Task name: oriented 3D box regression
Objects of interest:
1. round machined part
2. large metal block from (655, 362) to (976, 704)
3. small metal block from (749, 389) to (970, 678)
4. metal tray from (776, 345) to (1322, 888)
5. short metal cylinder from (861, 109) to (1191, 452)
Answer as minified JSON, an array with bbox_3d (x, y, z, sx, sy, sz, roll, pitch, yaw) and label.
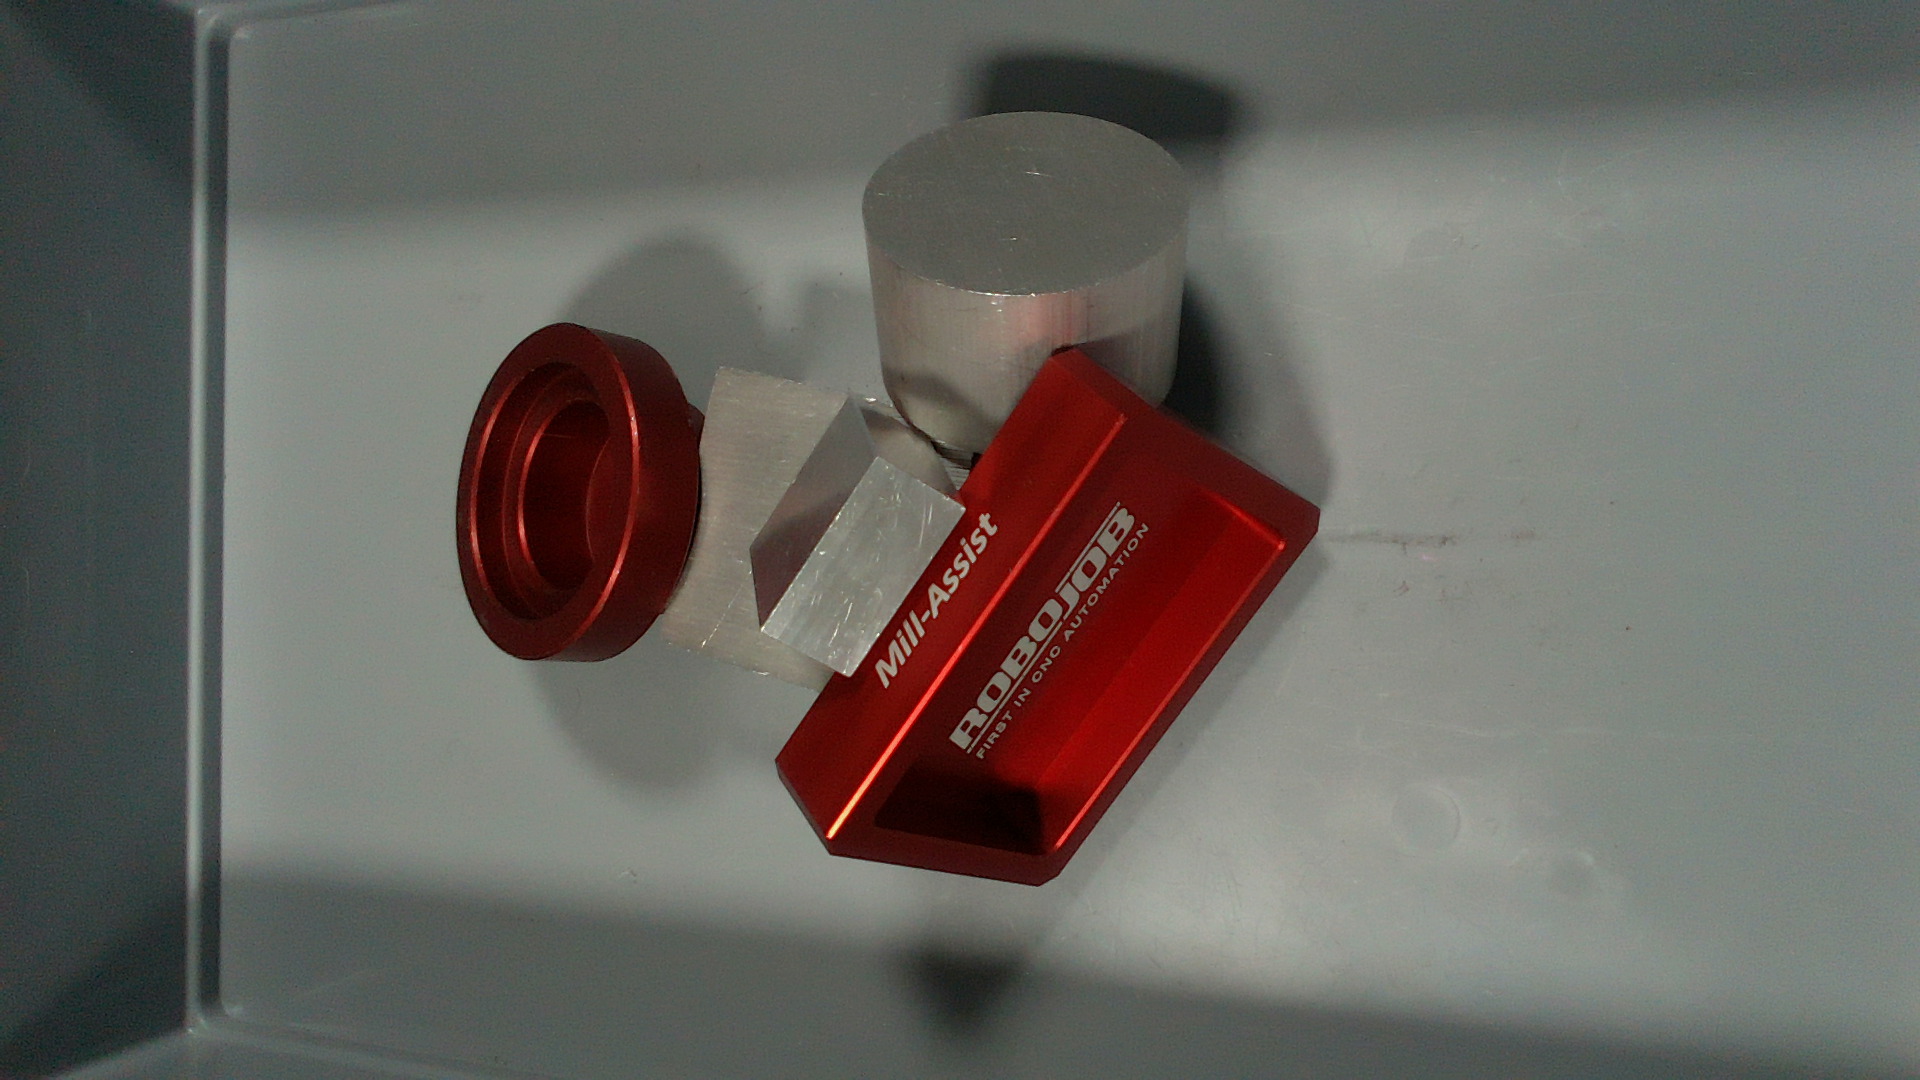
[{"bbox_3d":[-0.107,-0.012,0.412,0.098,0.042,0.098,-6,81,42],"label":"round machined part"},{"bbox_3d":[-0.031,0.000,0.393,0.080,0.050,0.080,15,95,19],"label":"large metal block"},{"bbox_3d":[-0.026,-0.003,0.336,0.025,0.050,0.050,30,103,-21],"label":"small metal block"},{"bbox_3d":[0.024,0.026,0.350,0.130,0.090,0.030,-56,46,11],"label":"metal tray"},{"bbox_3d":[0.017,-0.067,0.352,0.080,0.080,0.050,17,140,19],"label":"short metal cylinder"}]
